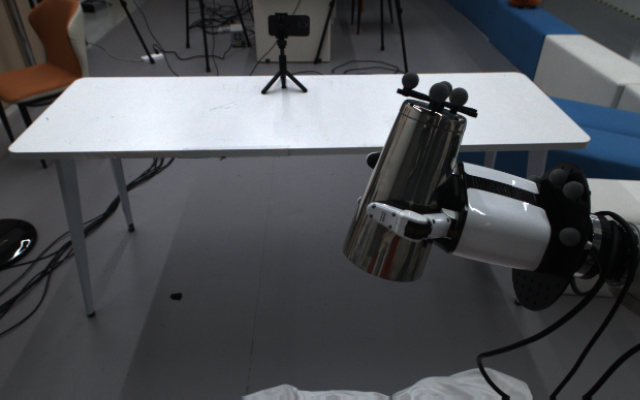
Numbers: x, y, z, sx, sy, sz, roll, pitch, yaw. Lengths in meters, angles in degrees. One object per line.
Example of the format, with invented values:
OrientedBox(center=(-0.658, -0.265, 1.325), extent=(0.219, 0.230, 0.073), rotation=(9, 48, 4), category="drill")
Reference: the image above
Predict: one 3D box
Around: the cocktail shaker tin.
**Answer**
OrientedBox(center=(0.093, -0.012, 0.506), extent=(0.093, 0.170, 0.093), rotation=(15, 20, -5), category="cocktail shaker tin")
